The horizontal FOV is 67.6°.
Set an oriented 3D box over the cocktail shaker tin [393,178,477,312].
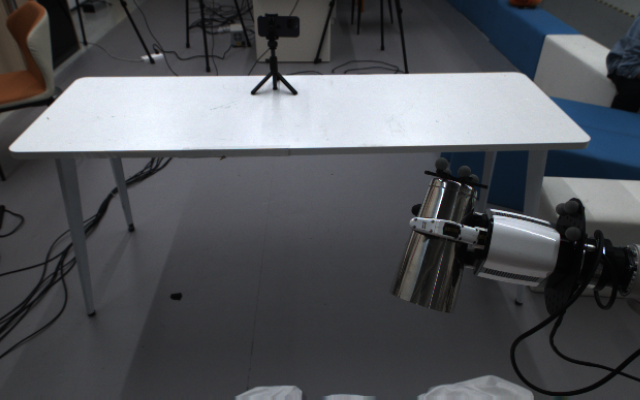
[{"bbox_3d":[0.167,0.060,0.677,0.093,0.170,0.093,16,-2,1],"label":"cocktail shaker tin"}]
